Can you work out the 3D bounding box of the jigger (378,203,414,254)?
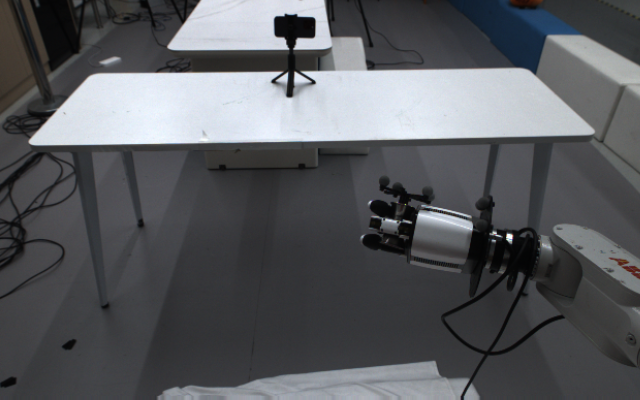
[{"bbox_3d":[0.125,0.040,0.770,0.043,0.071,0.043,16,-7,2],"label":"jigger"}]
